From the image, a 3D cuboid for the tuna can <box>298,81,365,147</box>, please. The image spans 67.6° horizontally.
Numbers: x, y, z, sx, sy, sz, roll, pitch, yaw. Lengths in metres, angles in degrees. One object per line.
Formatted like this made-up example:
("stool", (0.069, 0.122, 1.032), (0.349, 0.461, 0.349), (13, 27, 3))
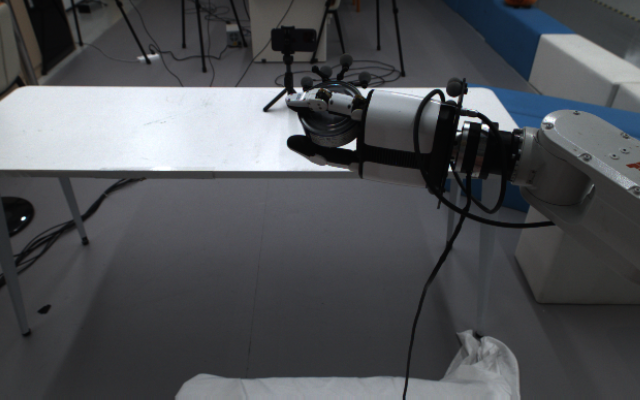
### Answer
("tuna can", (0.016, -0.111, 0.630), (0.085, 0.034, 0.085), (-6, 61, 10))
